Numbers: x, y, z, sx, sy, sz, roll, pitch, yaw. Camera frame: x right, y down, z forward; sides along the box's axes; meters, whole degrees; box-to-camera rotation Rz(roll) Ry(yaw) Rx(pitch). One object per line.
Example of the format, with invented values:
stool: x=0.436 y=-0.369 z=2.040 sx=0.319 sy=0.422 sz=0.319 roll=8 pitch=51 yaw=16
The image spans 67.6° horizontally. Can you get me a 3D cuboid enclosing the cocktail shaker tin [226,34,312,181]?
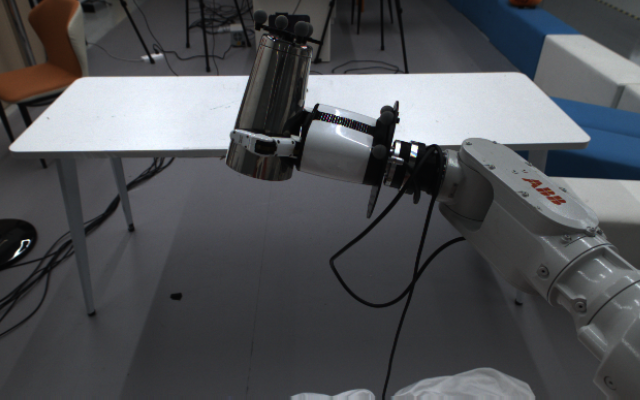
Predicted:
cocktail shaker tin: x=-0.062 y=-0.121 z=0.630 sx=0.093 sy=0.170 sz=0.093 roll=14 pitch=20 yaw=-5
